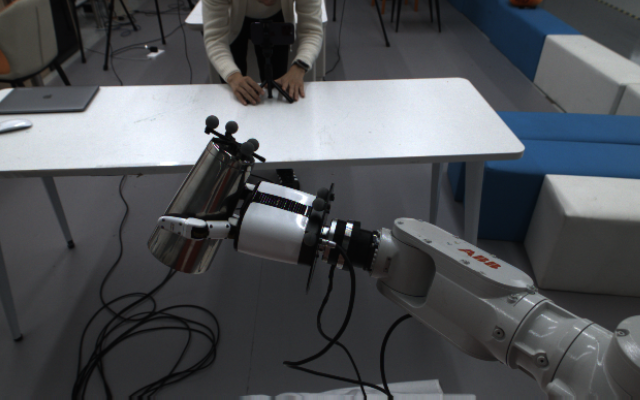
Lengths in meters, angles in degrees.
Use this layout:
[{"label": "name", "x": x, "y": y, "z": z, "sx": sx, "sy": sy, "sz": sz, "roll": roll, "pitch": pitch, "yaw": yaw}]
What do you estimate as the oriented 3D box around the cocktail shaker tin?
[{"label": "cocktail shaker tin", "x": -0.155, "y": 0.003, "z": 0.658, "sx": 0.093, "sy": 0.170, "sz": 0.093, "roll": 28, "pitch": 14, "yaw": -8}]
